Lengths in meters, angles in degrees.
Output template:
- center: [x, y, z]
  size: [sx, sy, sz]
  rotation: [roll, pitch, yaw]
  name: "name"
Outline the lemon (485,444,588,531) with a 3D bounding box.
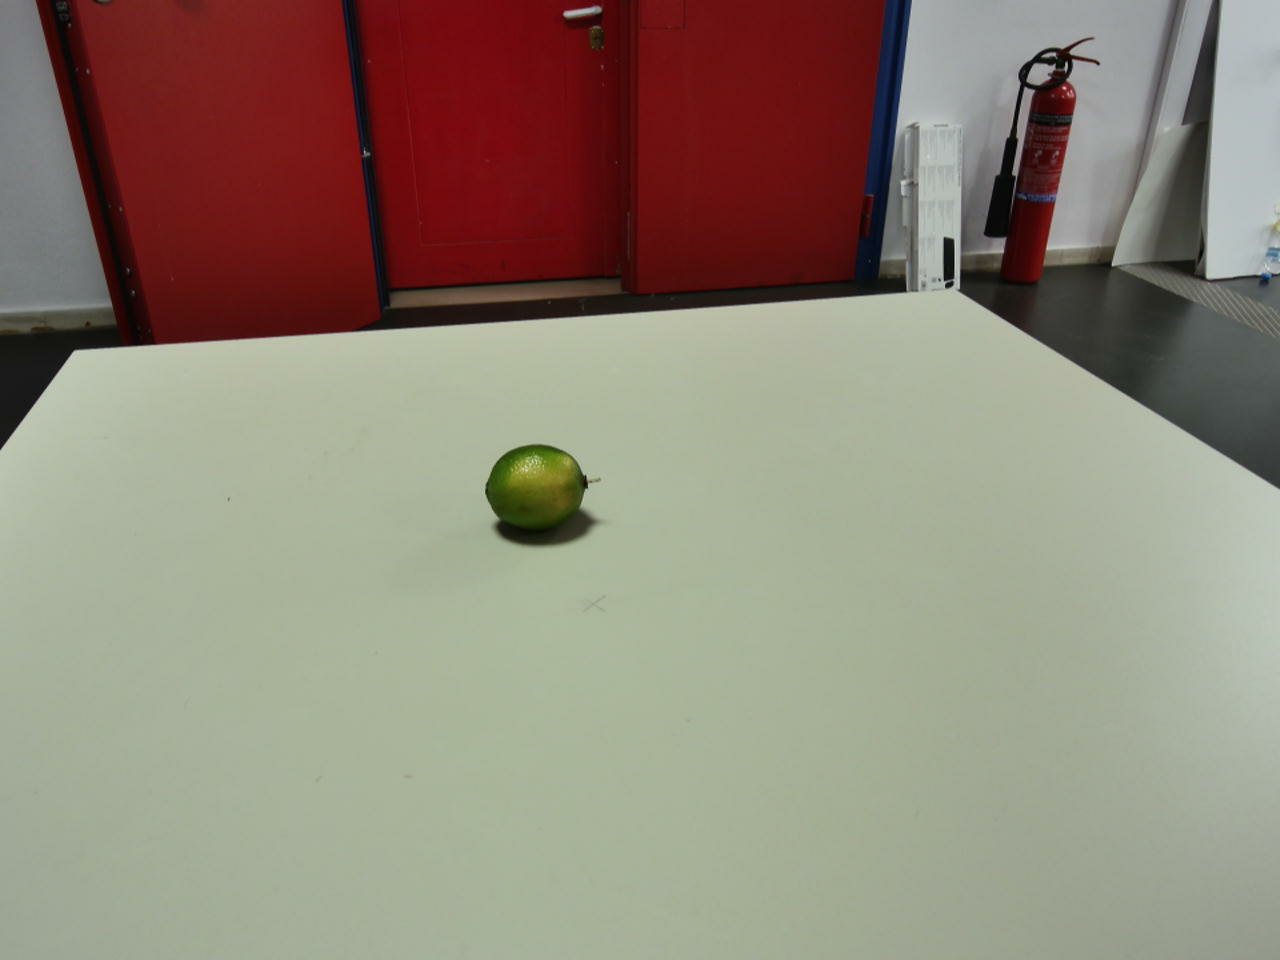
- center: [-0.062, 0.004, 0.596]
  size: [0.055, 0.050, 0.054]
  rotation: [20, 32, 33]
  name: "lemon"
